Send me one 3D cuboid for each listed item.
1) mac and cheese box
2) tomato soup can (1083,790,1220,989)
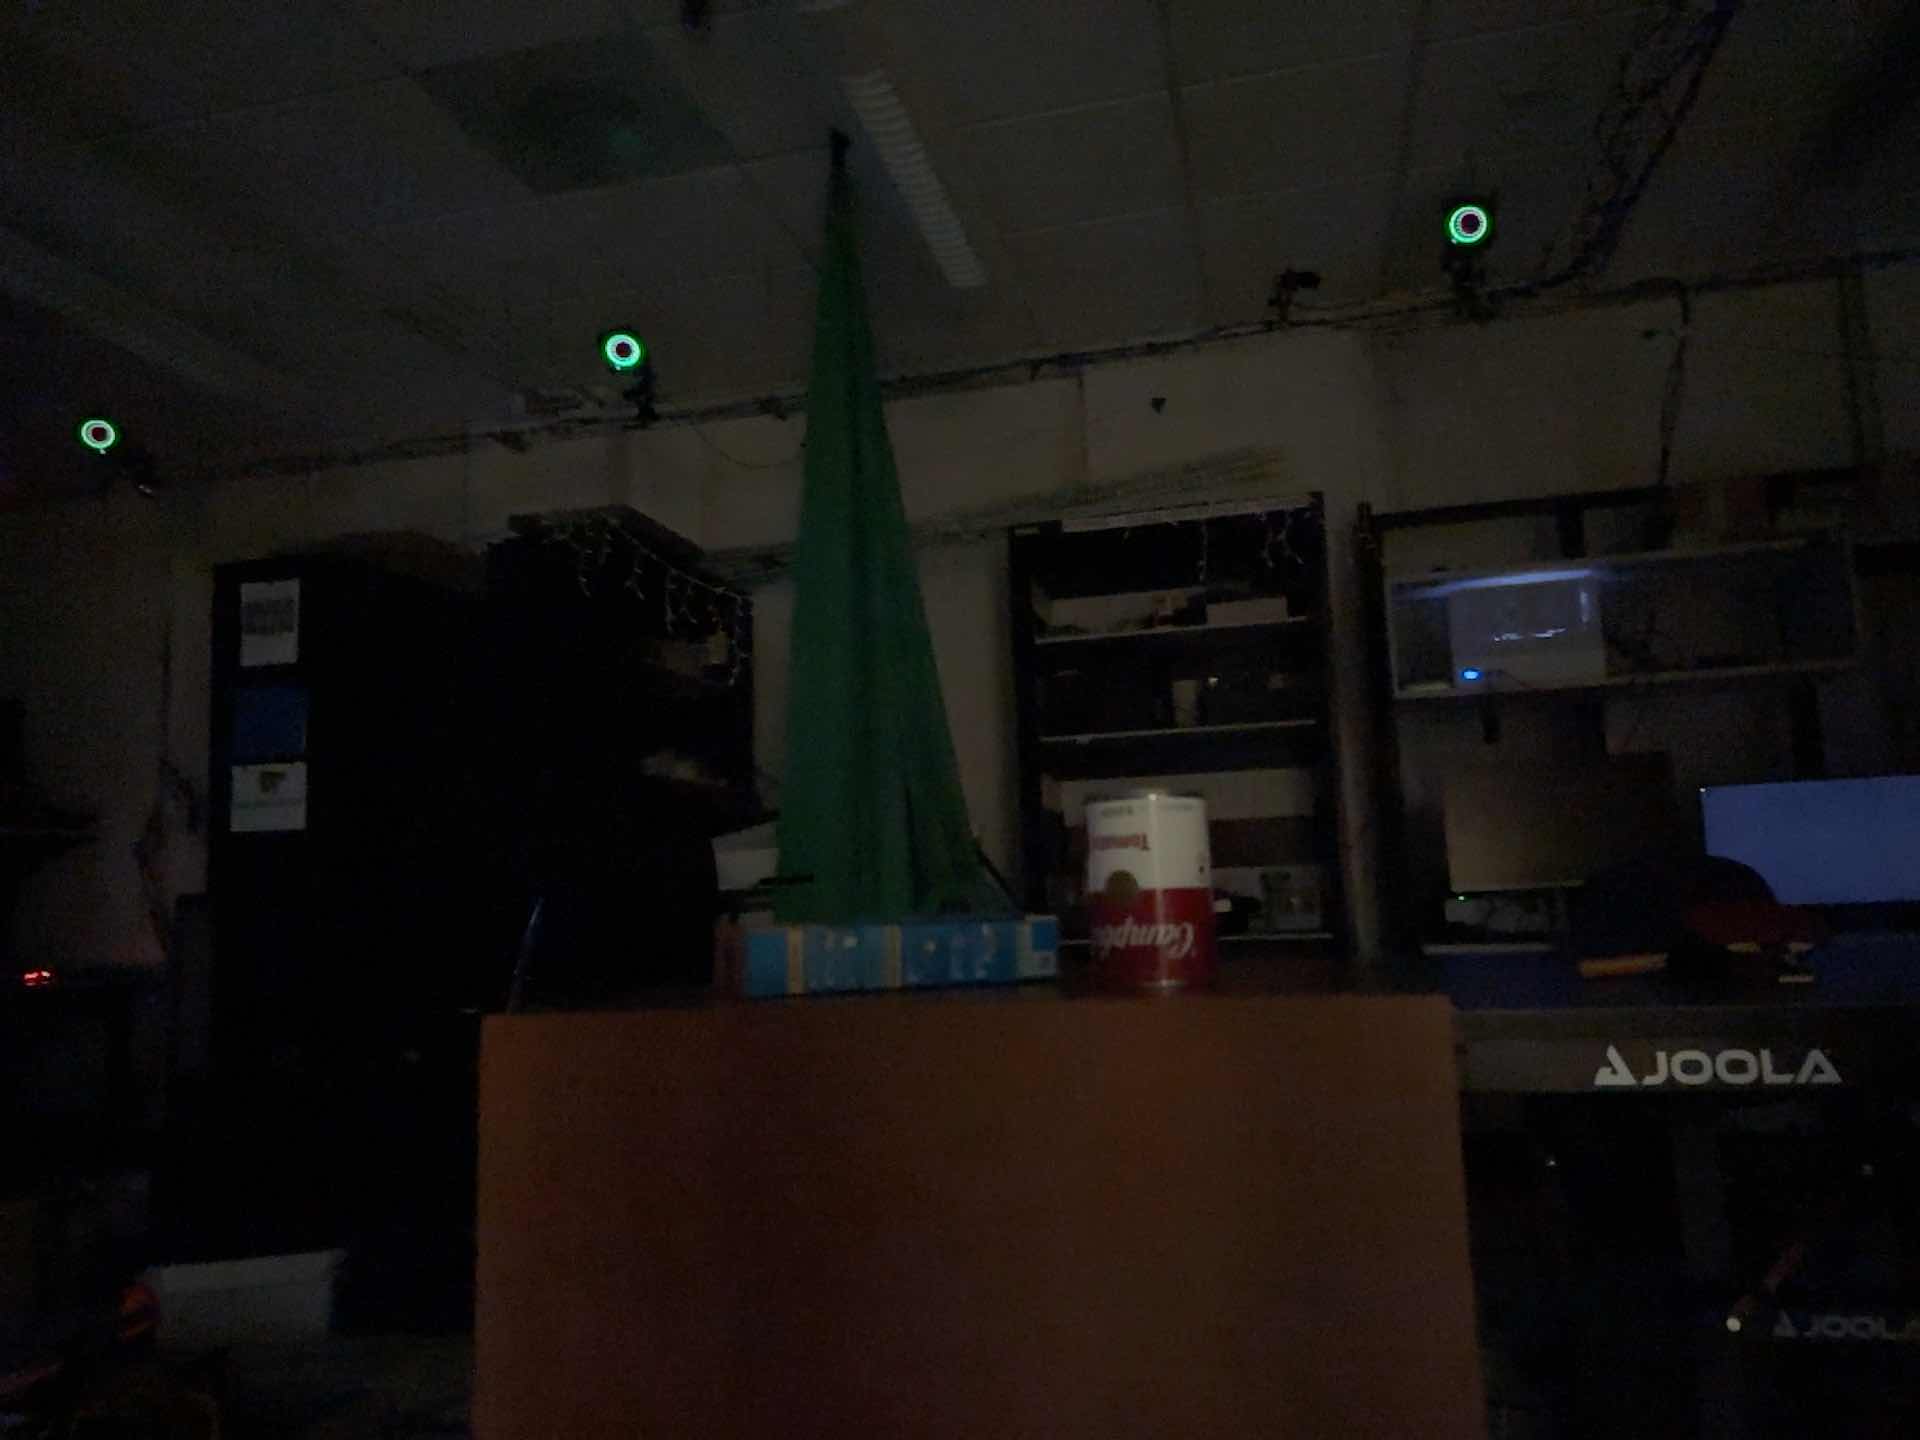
[{"bbox_3d":[-0.042,0.137,0.780,0.181,0.035,0.088,1,-6,-22],"label":"mac and cheese box"},{"bbox_3d":[0.102,0.089,0.720,0.067,0.102,0.067,-2,-6,0],"label":"tomato soup can"}]
